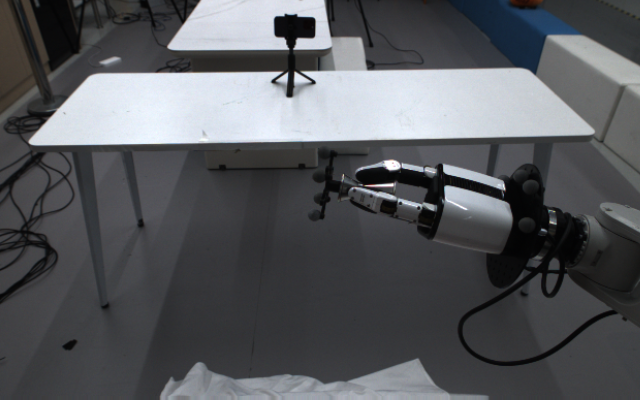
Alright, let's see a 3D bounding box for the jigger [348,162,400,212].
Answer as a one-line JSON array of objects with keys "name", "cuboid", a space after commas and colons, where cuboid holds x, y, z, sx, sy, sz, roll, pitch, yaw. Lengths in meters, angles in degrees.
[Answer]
[{"name": "jigger", "cuboid": [0.066, -0.012, 0.617, 0.071, 0.043, 0.043, 10, 35, 4]}]
